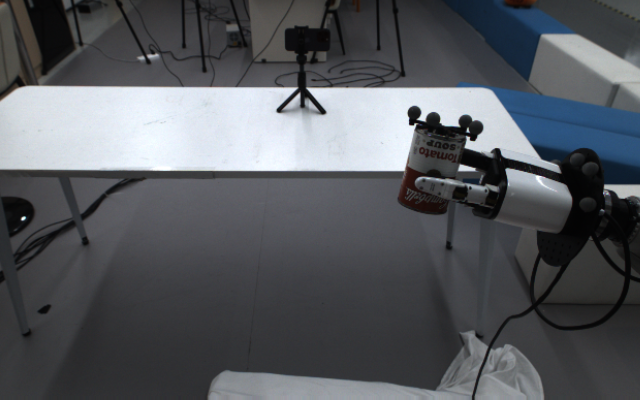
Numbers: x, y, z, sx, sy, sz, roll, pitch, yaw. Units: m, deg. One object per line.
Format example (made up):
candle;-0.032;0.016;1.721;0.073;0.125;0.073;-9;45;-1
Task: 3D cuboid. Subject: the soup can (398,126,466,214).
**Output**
soup can;0.147;-0.042;0.635;0.067;0.101;0.067;9;20;-3
